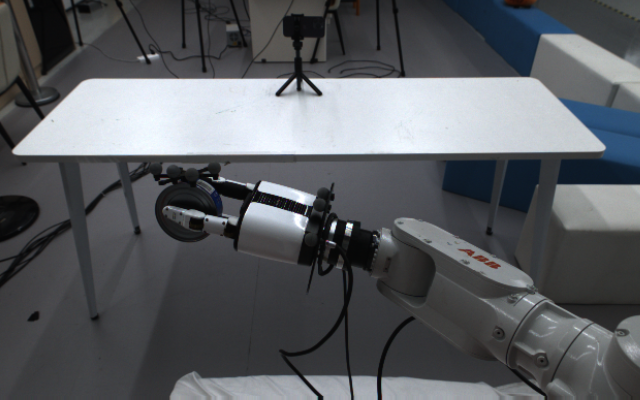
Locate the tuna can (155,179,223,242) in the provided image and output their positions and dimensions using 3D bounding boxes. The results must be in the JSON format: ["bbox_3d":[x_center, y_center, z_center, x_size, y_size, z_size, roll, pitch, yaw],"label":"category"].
[{"bbox_3d":[-0.174,0.015,0.665,0.085,0.085,0.034,4,18,2],"label":"tuna can"}]
